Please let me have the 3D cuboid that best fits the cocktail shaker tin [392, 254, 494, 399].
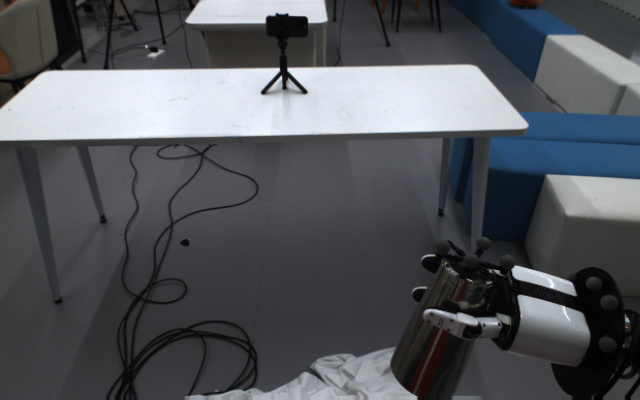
[{"bbox_3d":[0.161,0.152,0.611,0.093,0.170,0.093,12,25,-6],"label":"cocktail shaker tin"}]
